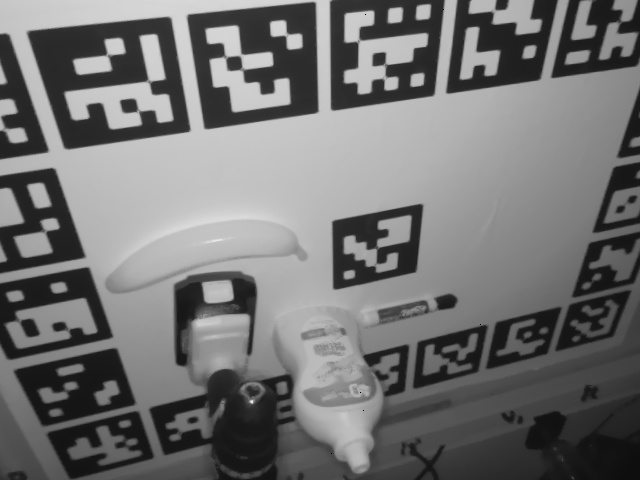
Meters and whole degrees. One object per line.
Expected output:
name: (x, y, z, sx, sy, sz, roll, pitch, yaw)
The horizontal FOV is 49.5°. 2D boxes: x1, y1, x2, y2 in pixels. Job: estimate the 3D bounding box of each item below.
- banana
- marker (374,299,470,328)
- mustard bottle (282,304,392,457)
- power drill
banana: (-0.089, -0.005, 0.692, 0.199, 0.039, 0.073, -3, 123, -19)
marker: (0.125, 0.089, 0.840, 0.122, 0.019, 0.019, -7, 125, -14)
mustard bottle: (0.024, 0.149, 0.738, 0.097, 0.192, 0.058, 1, 124, -18)
power drill: (-0.075, 0.122, 0.664, 0.058, 0.187, 0.182, 4, 125, -18)
